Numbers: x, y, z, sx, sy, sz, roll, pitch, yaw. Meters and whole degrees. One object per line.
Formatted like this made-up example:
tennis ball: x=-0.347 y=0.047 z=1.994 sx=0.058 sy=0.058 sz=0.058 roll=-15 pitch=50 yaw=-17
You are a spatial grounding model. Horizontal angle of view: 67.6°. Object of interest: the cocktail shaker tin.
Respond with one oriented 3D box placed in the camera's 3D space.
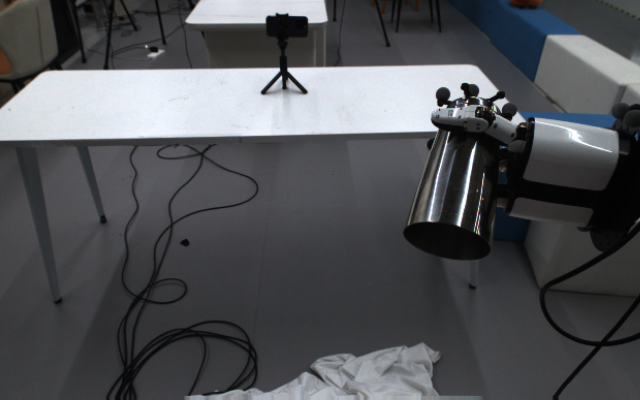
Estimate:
cocktail shaker tin: x=0.160 y=-0.033 z=0.542 sx=0.093 sy=0.093 sz=0.170 roll=13 pitch=65 yaw=15
